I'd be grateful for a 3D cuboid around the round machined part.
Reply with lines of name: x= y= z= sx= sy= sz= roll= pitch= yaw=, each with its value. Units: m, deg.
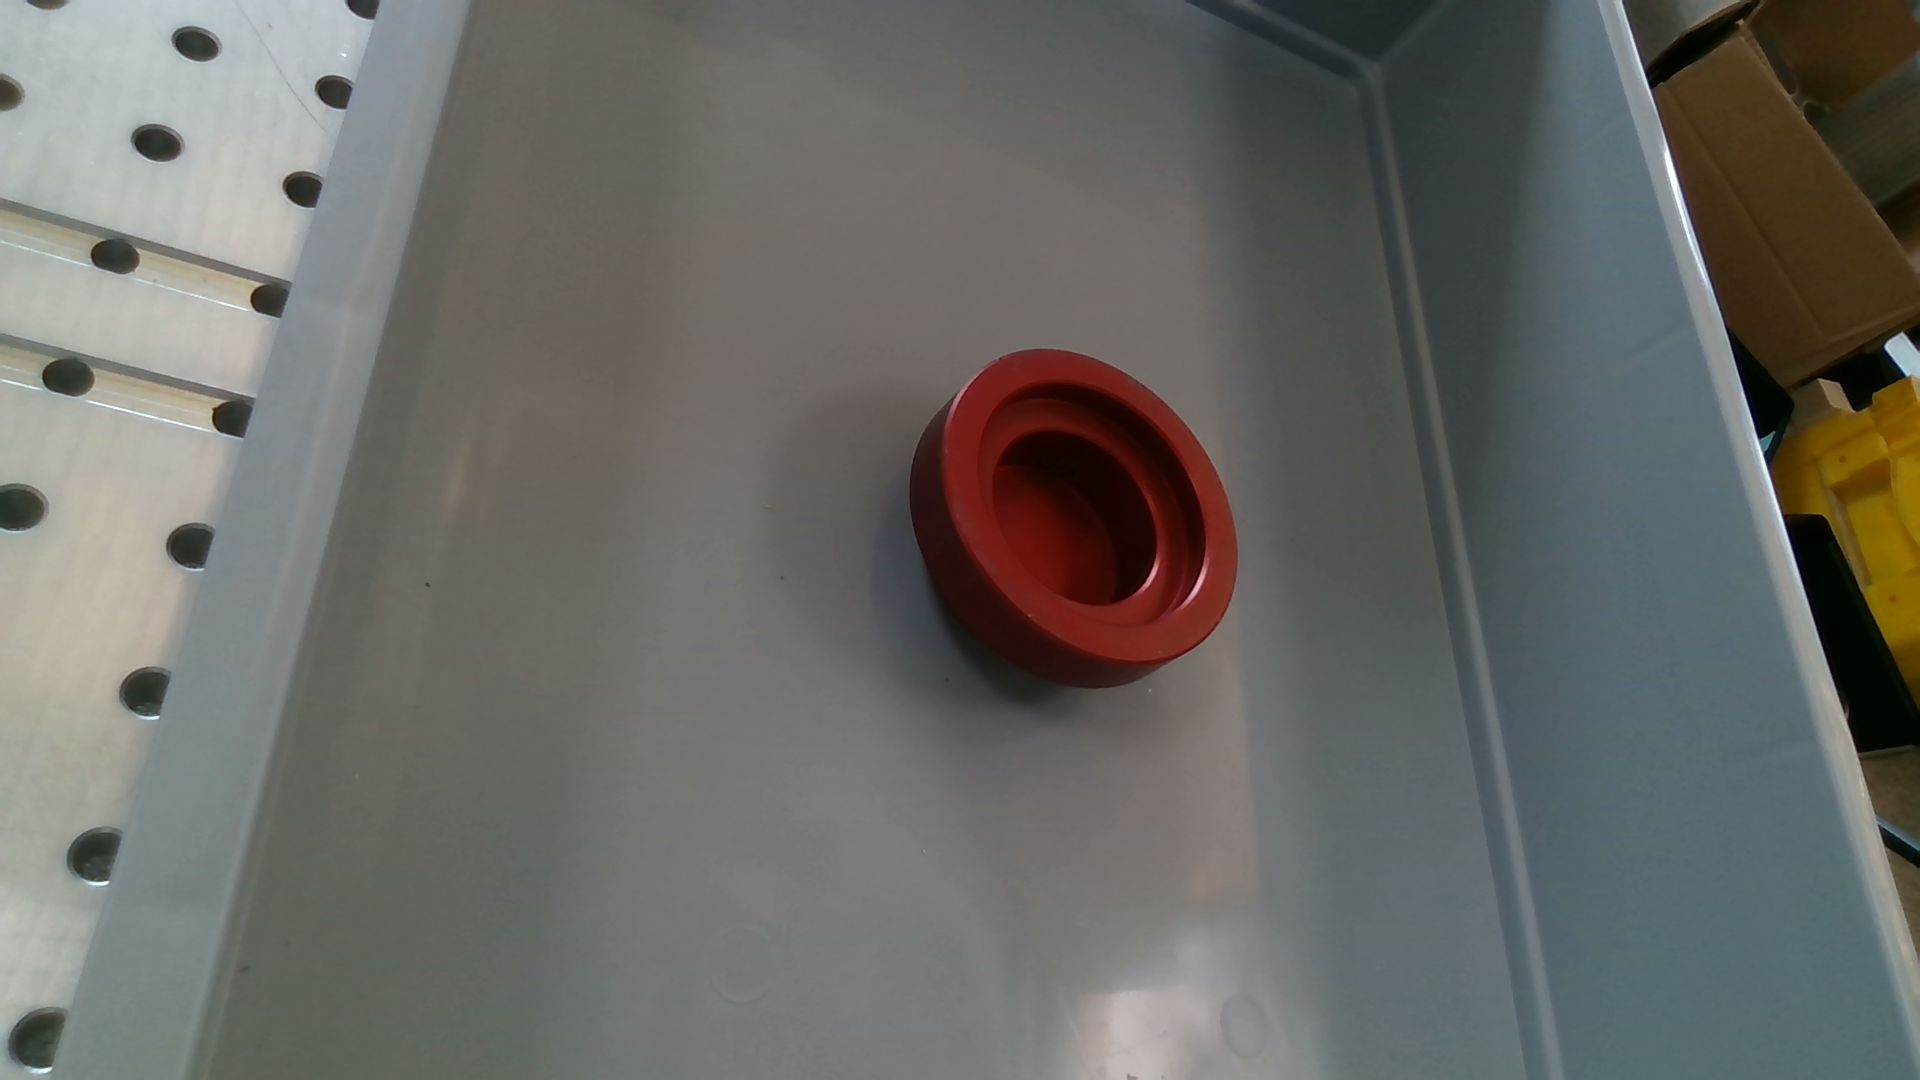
round machined part: x=0.029 y=-0.003 z=0.398 sx=0.098 sy=0.042 sz=0.098 roll=14 pitch=59 yaw=-25
